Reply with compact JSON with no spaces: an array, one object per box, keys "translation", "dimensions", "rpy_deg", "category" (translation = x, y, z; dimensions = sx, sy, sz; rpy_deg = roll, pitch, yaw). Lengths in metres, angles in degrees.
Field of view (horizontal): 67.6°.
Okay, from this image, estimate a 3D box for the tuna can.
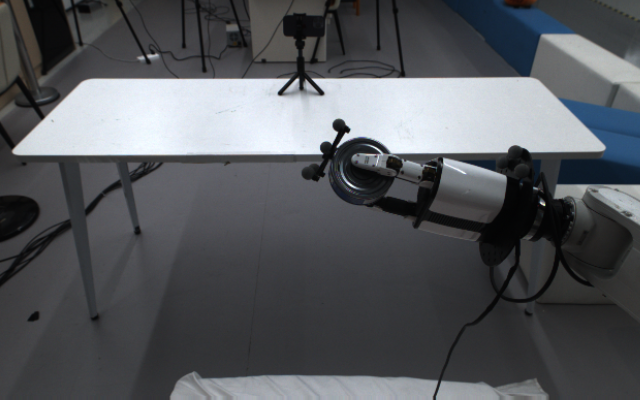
[{"translation":[0.057,-0.039,0.636],"dimensions":[0.085,0.034,0.085],"rpy_deg":[1,75,-5],"category":"tuna can"}]
